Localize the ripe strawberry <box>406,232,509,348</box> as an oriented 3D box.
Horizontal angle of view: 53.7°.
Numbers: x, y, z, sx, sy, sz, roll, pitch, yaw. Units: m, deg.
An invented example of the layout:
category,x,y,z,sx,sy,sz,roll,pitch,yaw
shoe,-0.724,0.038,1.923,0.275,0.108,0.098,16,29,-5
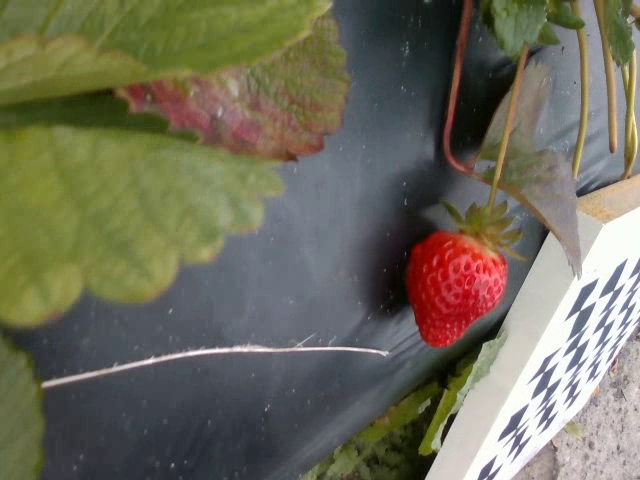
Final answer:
category,x,y,z,sx,sy,sz,roll,pitch,yaw
ripe strawberry,0.033,0.012,0.147,0.028,0.033,0.022,6,24,-48
